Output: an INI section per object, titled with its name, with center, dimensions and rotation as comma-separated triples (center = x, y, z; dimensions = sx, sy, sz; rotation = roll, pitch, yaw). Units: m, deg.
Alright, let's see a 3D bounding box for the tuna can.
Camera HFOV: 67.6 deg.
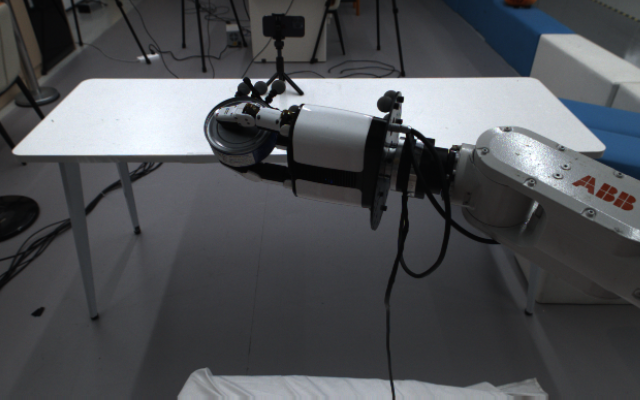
[tuna can]
center = -0.096, -0.084, 0.597
dimensions = 0.085, 0.034, 0.085
rotation = -2, 60, 3
